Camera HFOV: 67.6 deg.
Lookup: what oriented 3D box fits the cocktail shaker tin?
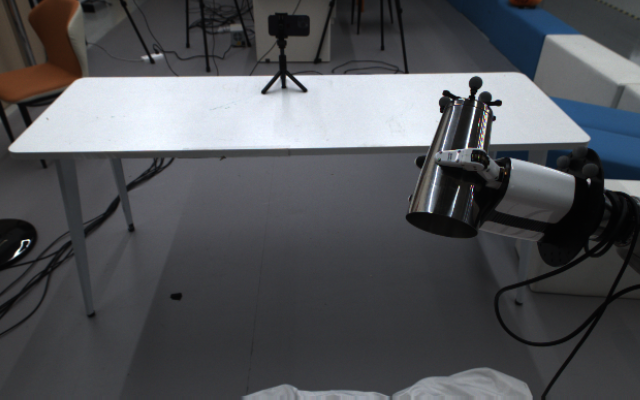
[{"bbox_3d":[0.180,-0.045,0.642,0.093,0.093,0.170,13,74,16],"label":"cocktail shaker tin"}]
